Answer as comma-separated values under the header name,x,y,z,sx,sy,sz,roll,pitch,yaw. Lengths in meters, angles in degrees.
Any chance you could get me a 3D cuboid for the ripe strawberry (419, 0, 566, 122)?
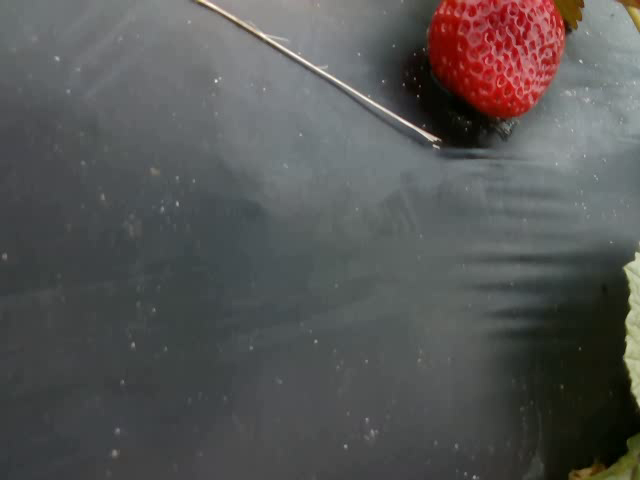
name,x,y,z,sx,sy,sz,roll,pitch,yaw
ripe strawberry,0.032,-0.035,0.100,0.028,0.033,0.022,23,-27,-14
